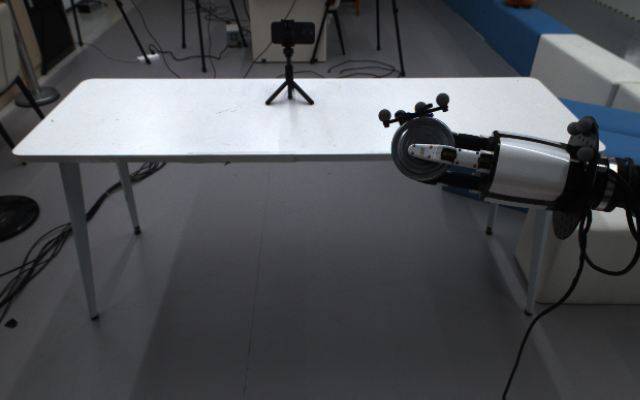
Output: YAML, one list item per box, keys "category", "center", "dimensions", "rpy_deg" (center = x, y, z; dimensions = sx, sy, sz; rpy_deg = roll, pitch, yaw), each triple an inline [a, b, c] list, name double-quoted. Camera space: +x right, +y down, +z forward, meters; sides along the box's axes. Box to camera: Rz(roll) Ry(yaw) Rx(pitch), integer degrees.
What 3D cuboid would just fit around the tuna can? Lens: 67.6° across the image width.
- category: "tuna can"
  center: [0.141, -0.072, 0.657]
  dimensions: [0.085, 0.085, 0.034]
  rpy_deg: [12, 3, 14]
